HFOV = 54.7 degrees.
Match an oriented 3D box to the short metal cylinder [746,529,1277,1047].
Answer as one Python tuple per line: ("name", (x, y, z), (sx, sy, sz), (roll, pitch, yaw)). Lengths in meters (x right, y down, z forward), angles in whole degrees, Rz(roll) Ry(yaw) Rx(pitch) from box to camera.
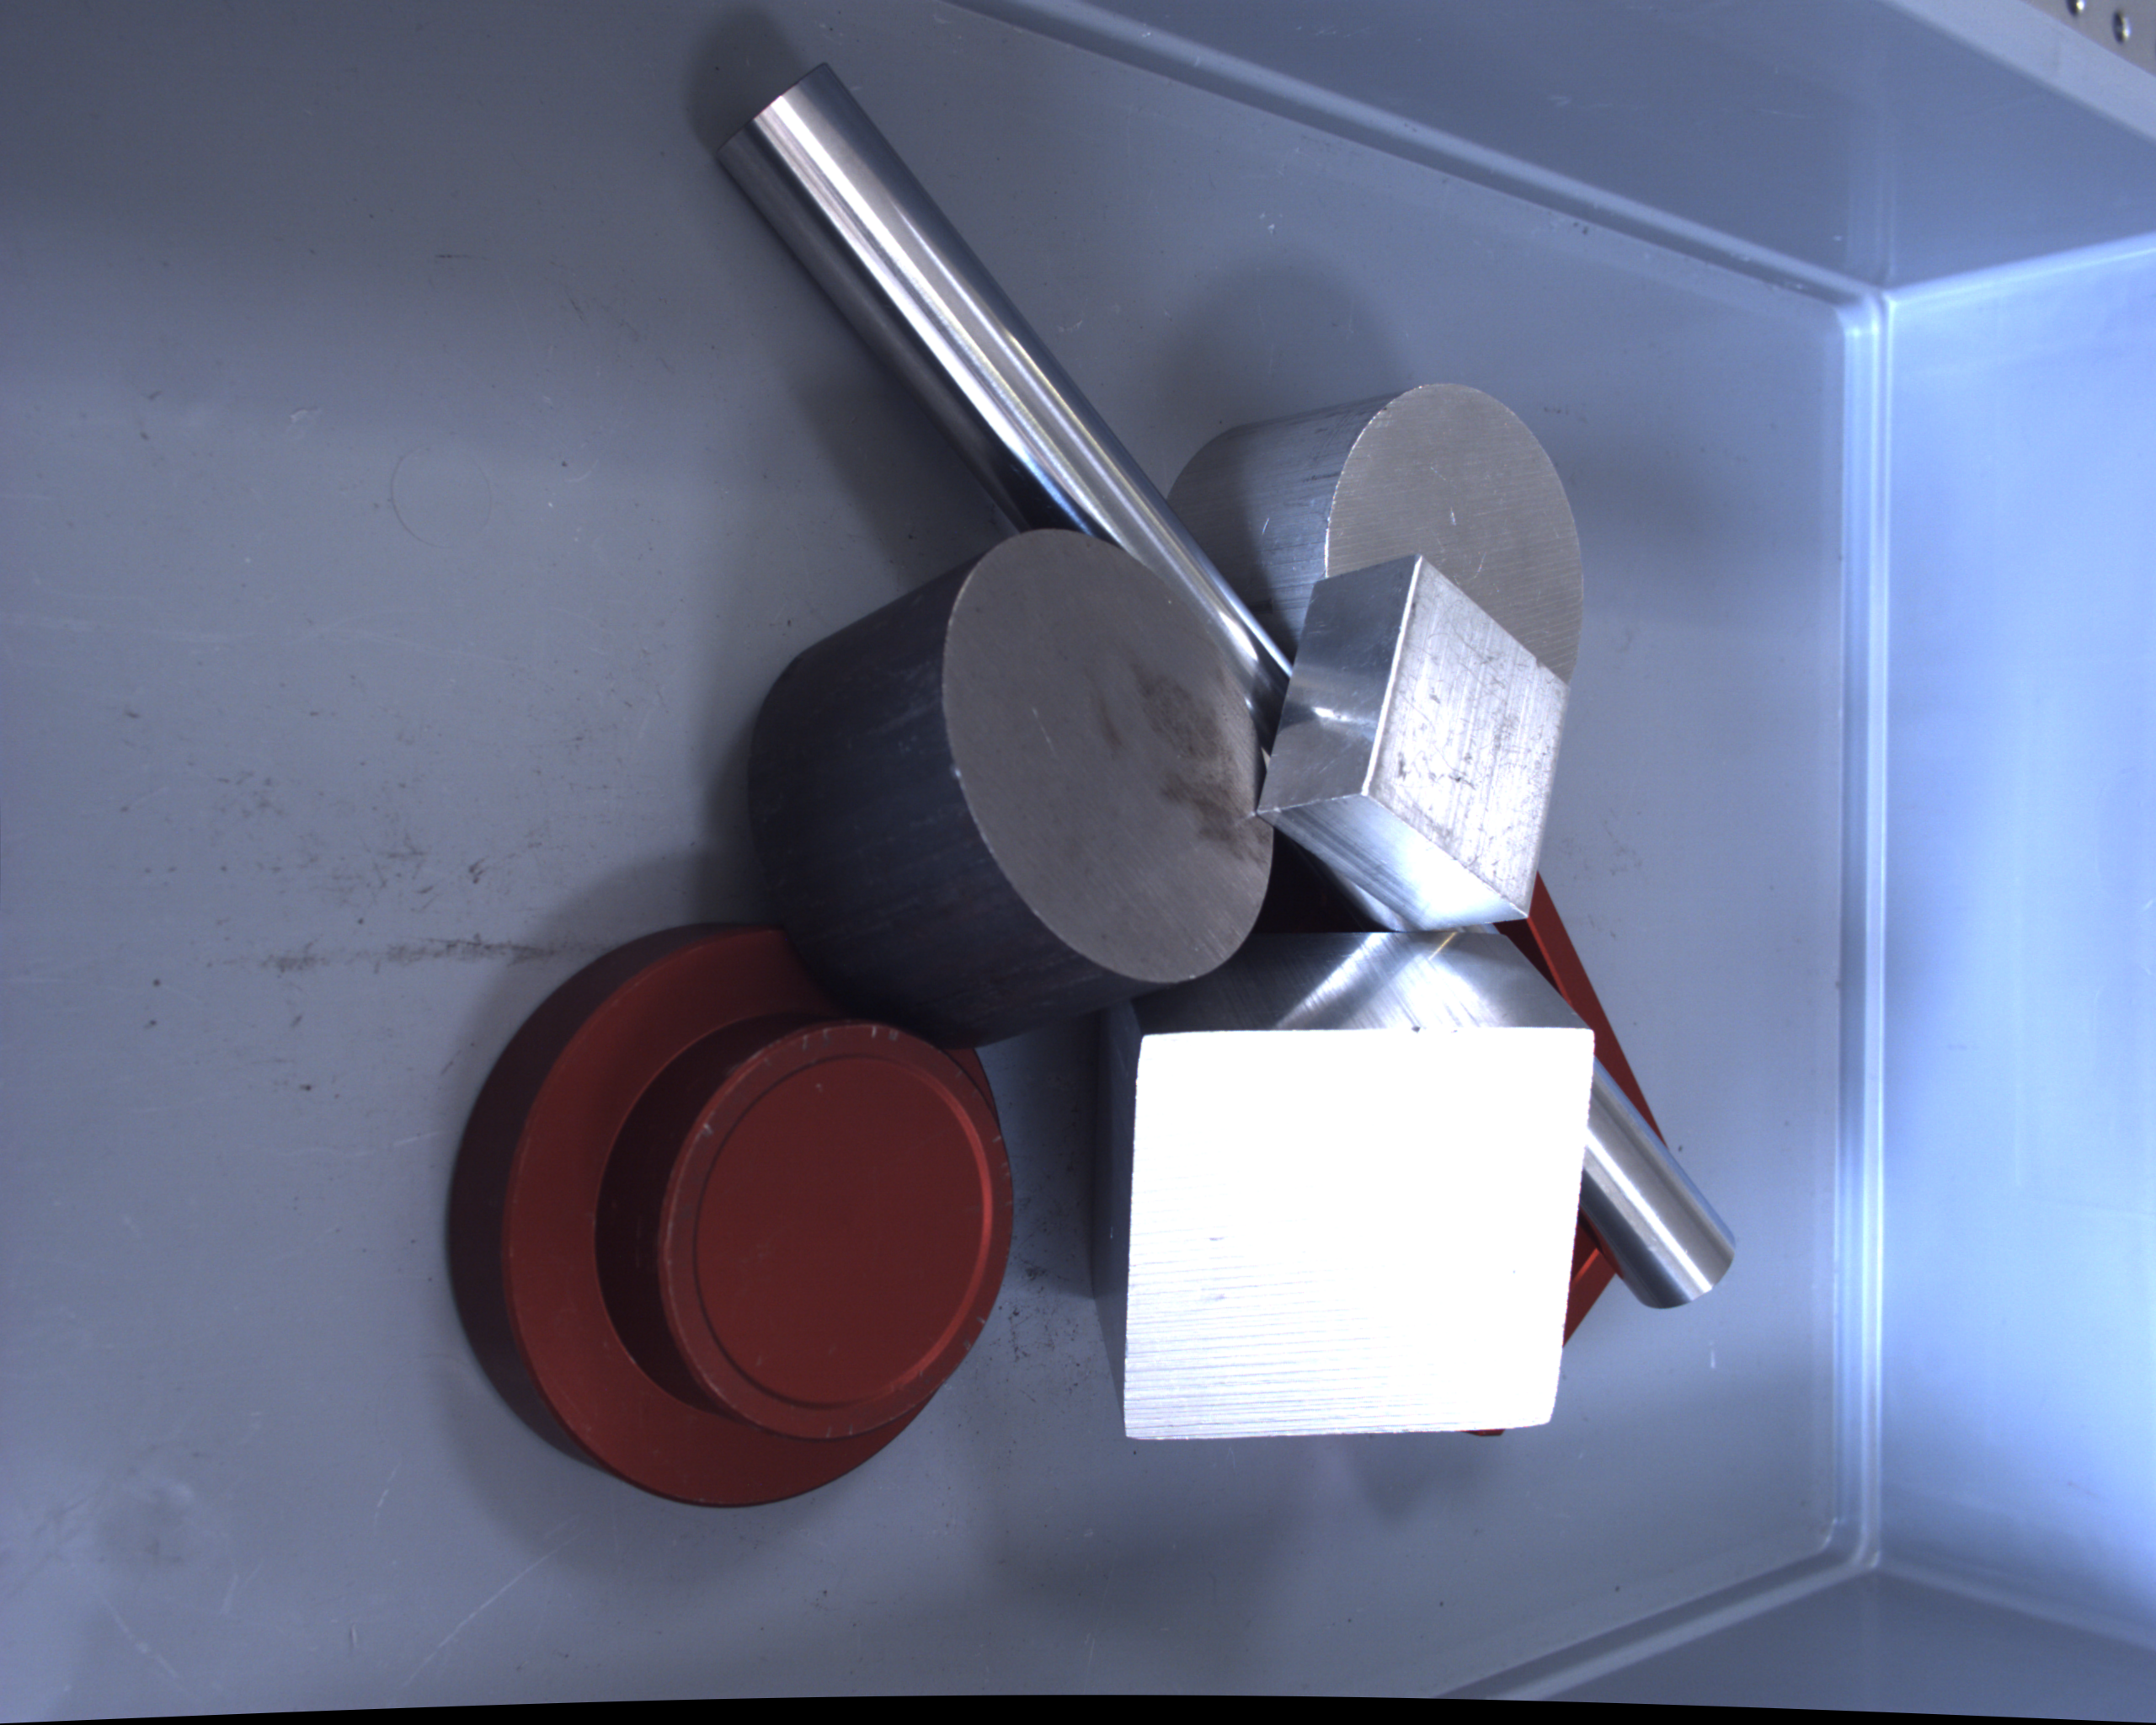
("short metal cylinder", (-0.010, -0.012, 0.365), (0.080, 0.050, 0.080), (22, 58, -41))

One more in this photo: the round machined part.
("round machined part", (-0.050, 0.059, 0.351), (0.099, 0.042, 0.097), (0, 90, -40))

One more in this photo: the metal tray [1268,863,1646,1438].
("metal tray", (0.080, 0.052, 0.468), (0.090, 0.030, 0.130), (-44, 117, -31))

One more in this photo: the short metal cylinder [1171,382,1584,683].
("short metal cylinder", (0.062, -0.057, 0.441), (0.081, 0.050, 0.079), (0, 90, -40))

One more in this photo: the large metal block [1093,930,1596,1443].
("large metal block", (0.046, 0.059, 0.393), (0.081, 0.050, 0.079), (-1, 107, -7))

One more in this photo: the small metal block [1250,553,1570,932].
("small metal block", (0.063, -0.021, 0.389), (0.050, 0.025, 0.050), (33, 62, -35))

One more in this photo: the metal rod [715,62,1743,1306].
("metal rod", (0.040, -0.022, 0.406), (0.300, 0.025, 0.025), (49, 60, -18))
